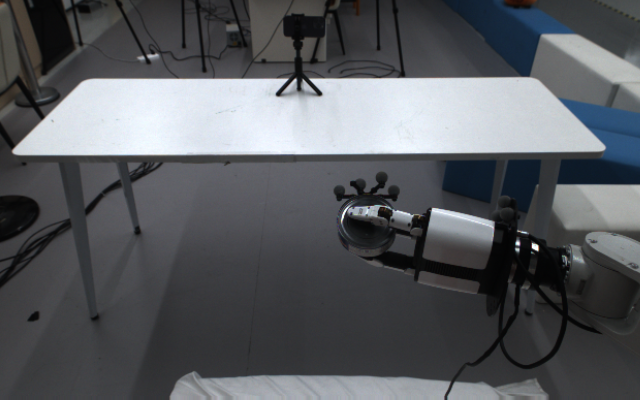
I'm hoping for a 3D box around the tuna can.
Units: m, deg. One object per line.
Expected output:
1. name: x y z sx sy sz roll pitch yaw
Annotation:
1. tuna can: 0.067 0.036 0.683 0.085 0.034 0.085 -2 58 2
